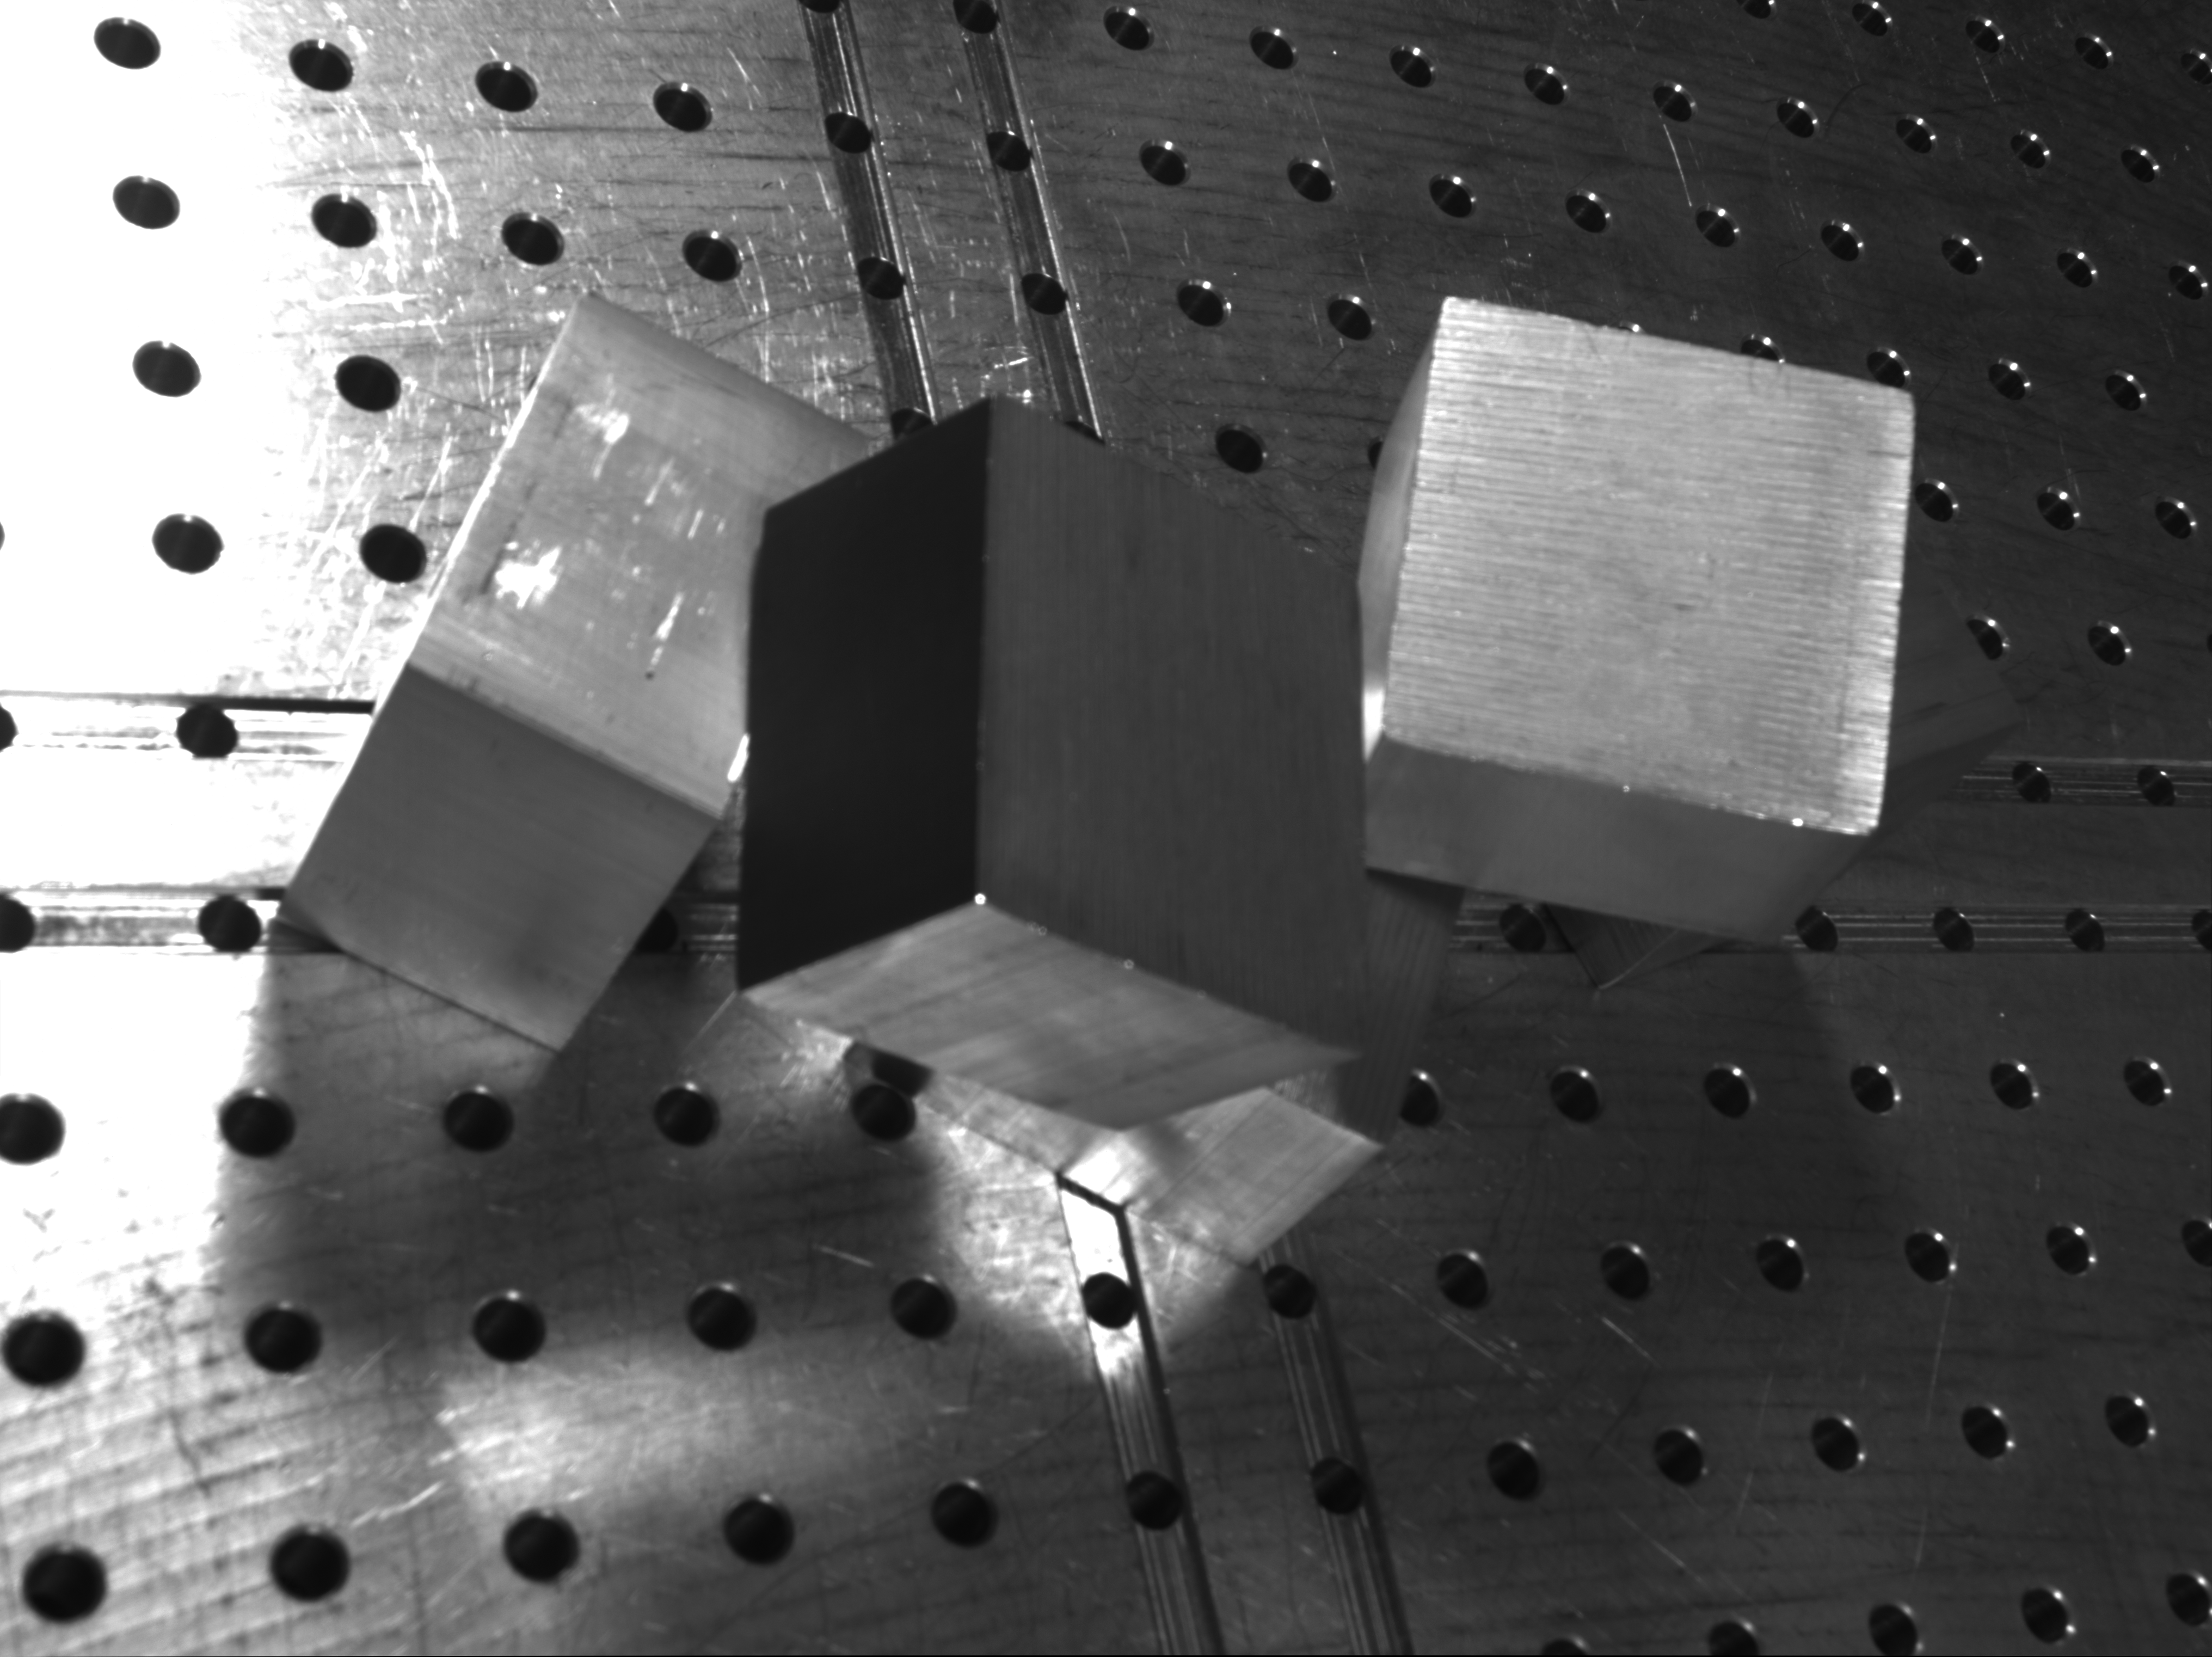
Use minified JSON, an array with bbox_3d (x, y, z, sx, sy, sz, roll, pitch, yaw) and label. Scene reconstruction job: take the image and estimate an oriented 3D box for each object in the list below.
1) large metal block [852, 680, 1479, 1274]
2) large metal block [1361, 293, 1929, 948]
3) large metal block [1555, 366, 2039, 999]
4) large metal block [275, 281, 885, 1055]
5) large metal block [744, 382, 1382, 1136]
[{"bbox_3d":[0.014,0.016,0.624,0.080,0.050,0.080,28,52,-10],"label":"large metal block"},{"bbox_3d":[0.085,-0.033,0.604,0.080,0.050,0.080,12,68,-4],"label":"large metal block"},{"bbox_3d":[0.113,-0.027,0.684,0.050,0.080,0.080,-17,71,-35],"label":"large metal block"},{"bbox_3d":[-0.083,-0.024,0.577,0.050,0.080,0.080,27,52,-11],"label":"large metal block"},{"bbox_3d":[-0.005,-0.008,0.544,0.080,0.050,0.080,23,57,-40],"label":"large metal block"}]
